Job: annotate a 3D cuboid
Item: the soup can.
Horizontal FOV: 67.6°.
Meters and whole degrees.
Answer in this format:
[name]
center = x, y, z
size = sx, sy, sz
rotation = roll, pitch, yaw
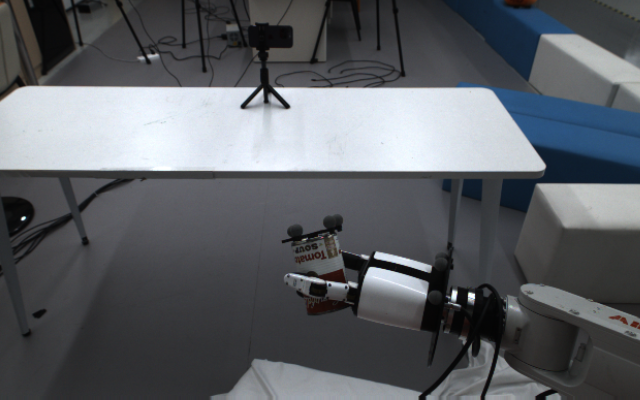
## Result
[soup can]
center = 0.005, 0.102, 0.673
size = 0.067, 0.101, 0.067
rotation = -14, -2, -1
